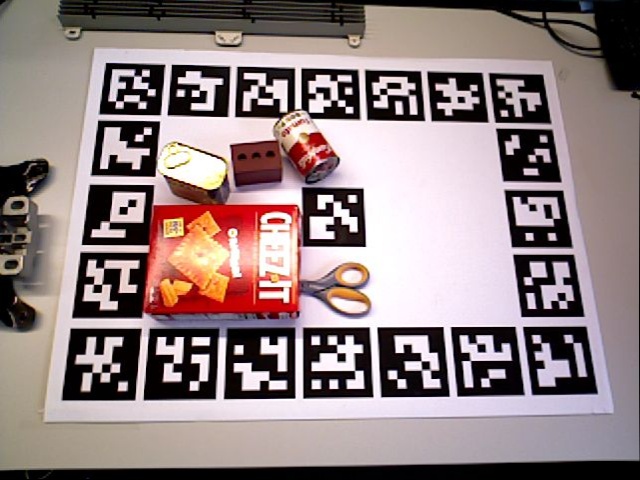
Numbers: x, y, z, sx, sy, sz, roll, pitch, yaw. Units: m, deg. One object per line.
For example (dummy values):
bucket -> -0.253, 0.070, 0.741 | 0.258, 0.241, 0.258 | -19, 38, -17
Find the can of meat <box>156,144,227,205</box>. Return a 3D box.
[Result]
can of meat -> -0.193, -0.098, 0.819 | 0.101, 0.085, 0.057 | 14, 73, 0

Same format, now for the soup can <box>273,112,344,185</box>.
soup can -> -0.020, -0.148, 0.863 | 0.067, 0.069, 0.102 | -37, 74, -13

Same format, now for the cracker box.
cracker box -> -0.138, 0.035, 0.777 | 0.212, 0.073, 0.163 | -6, 73, -1

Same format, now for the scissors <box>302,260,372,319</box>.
scissors -> -0.025, 0.079, 0.804 | 0.201, 0.016, 0.087 | -4, 75, -4

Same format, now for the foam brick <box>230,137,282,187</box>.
foam brick -> -0.101, -0.122, 0.852 | 0.077, 0.052, 0.052 | -10, 75, -7
